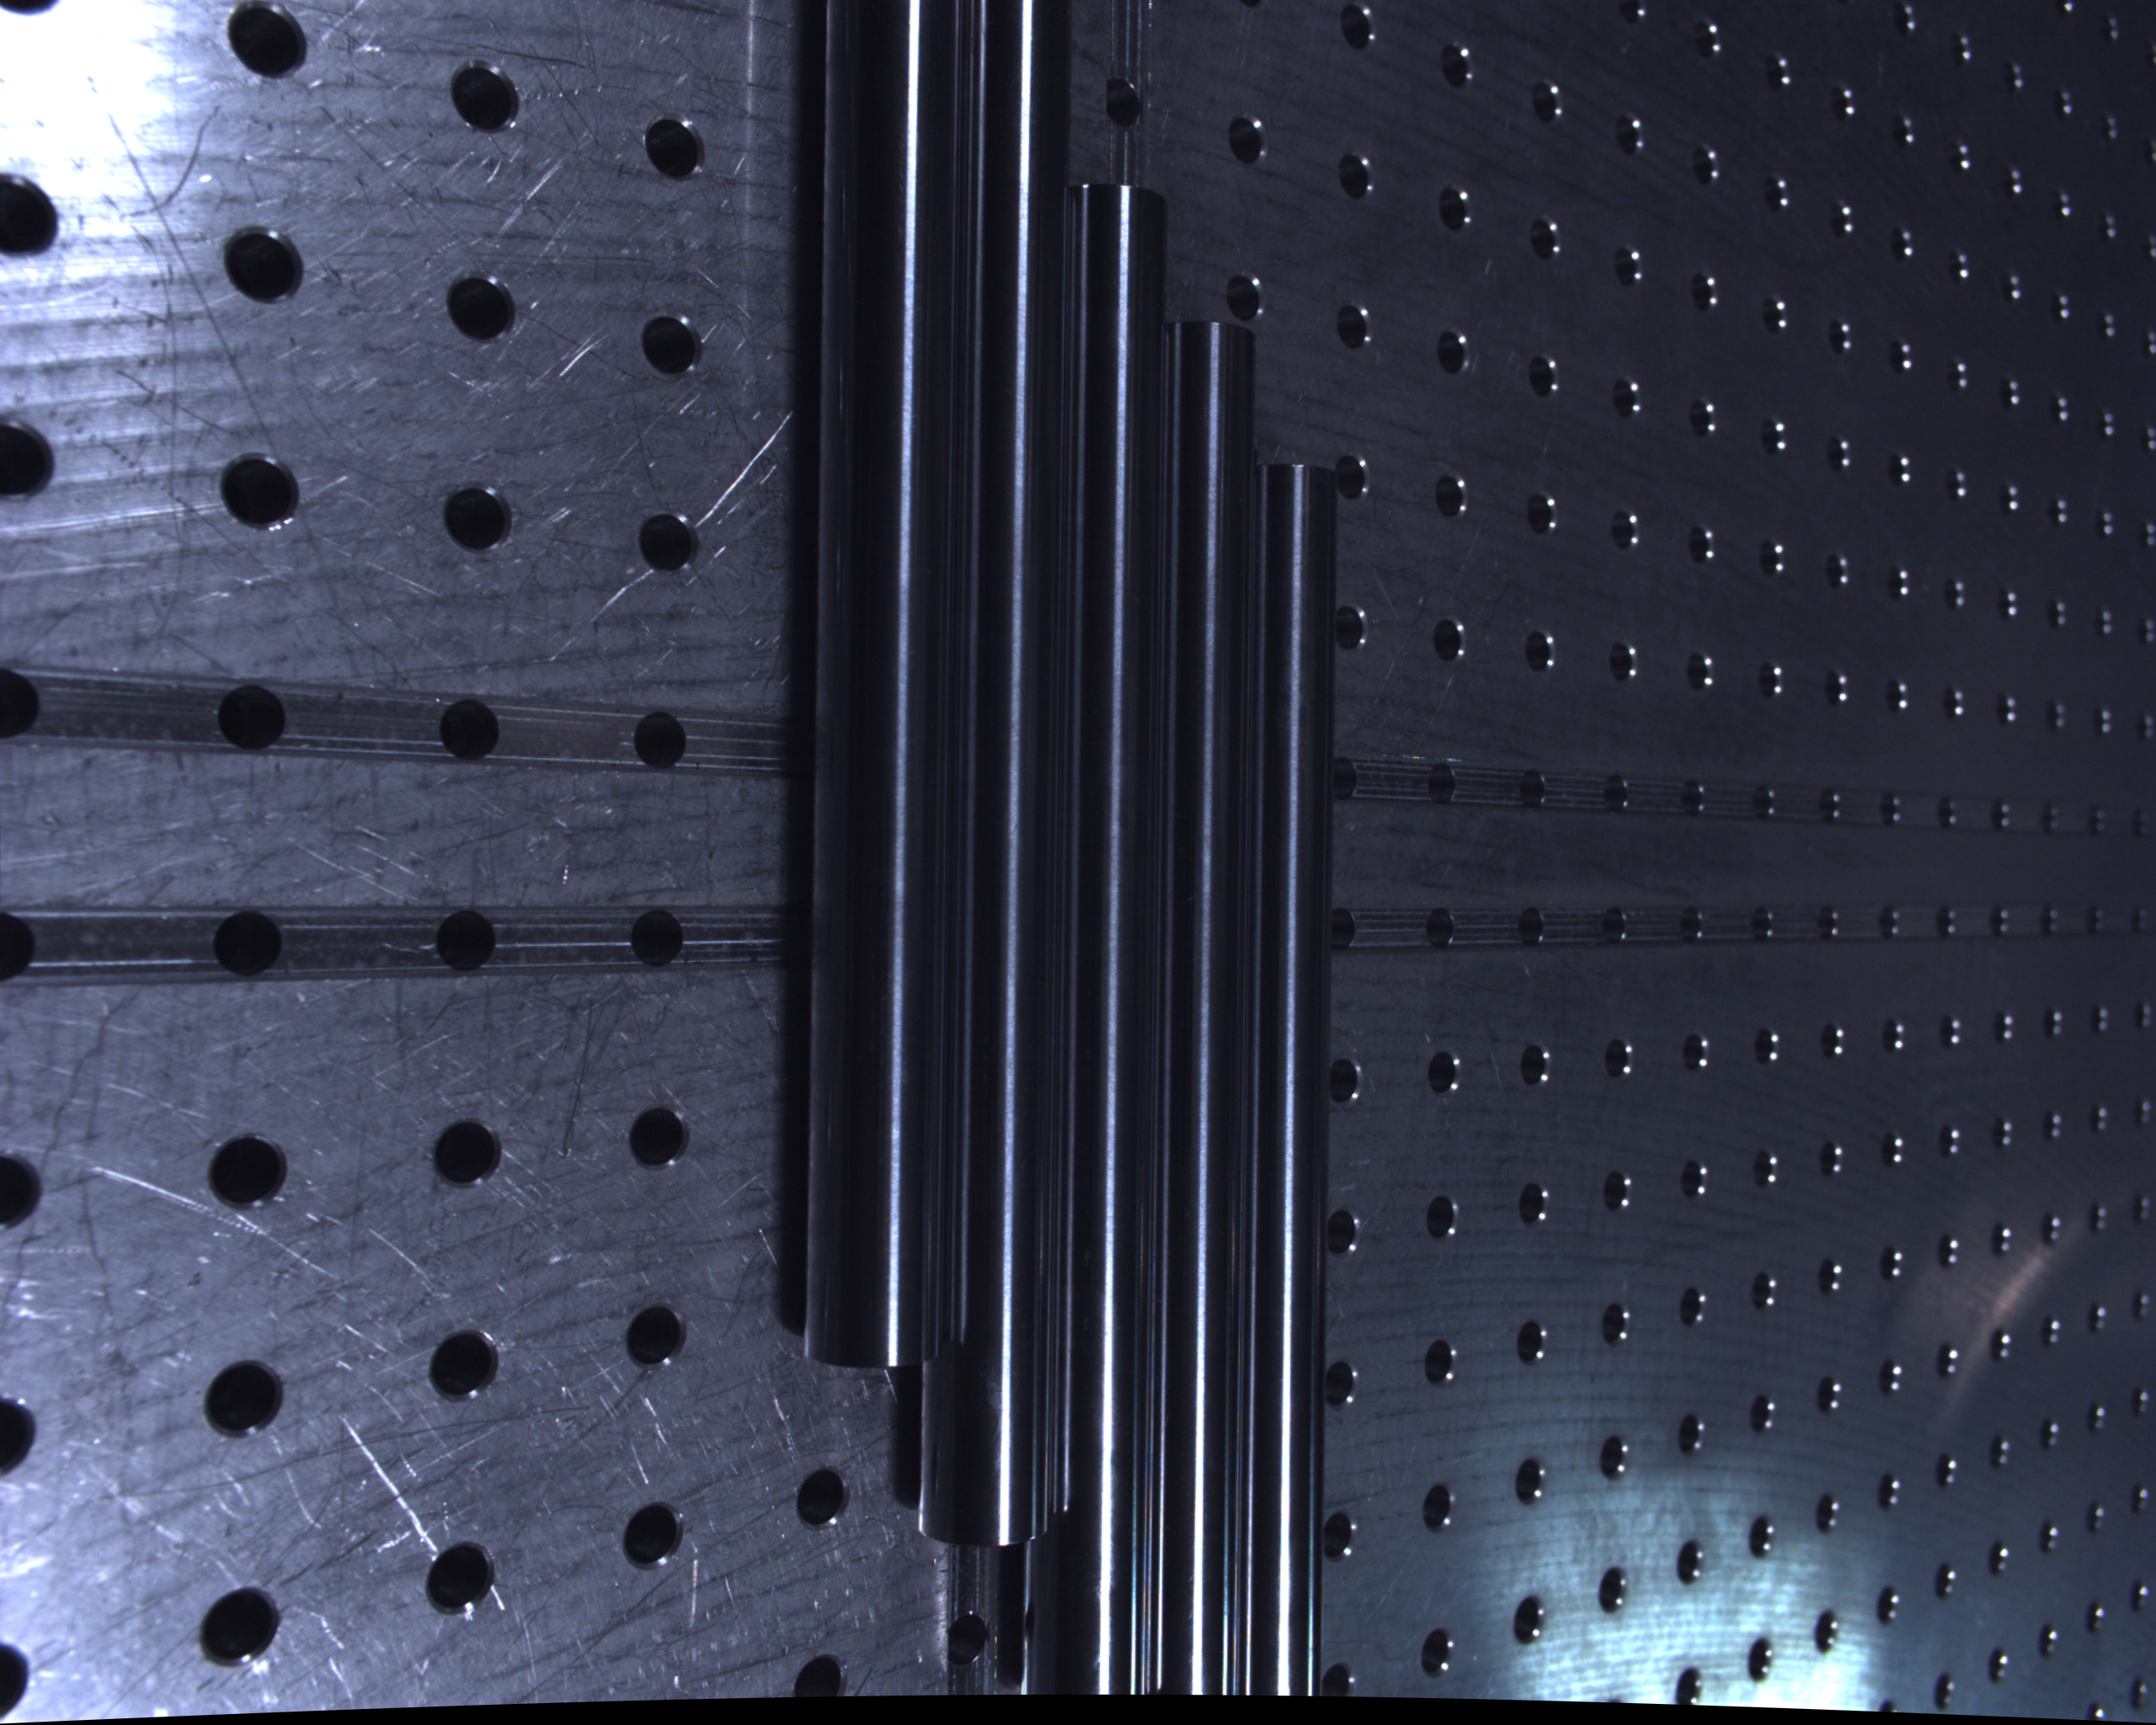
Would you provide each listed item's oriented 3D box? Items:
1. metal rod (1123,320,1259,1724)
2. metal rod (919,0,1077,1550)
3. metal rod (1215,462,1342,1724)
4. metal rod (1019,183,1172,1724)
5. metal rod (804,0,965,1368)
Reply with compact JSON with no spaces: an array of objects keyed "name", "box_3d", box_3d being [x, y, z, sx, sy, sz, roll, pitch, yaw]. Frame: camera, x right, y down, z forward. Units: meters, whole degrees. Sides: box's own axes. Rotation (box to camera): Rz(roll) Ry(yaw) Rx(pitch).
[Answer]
[{"name":"metal rod","box_3d":[0.022,0.040,0.429,0.025,0.025,0.298,2,89,-40]},{"name":"metal rod","box_3d":[-0.015,-0.023,0.397,0.025,0.025,0.298,2,89,-40]},{"name":"metal rod","box_3d":[0.041,0.066,0.445,0.025,0.025,0.298,2,89,-40]},{"name":"metal rod","box_3d":[0.004,0.018,0.413,0.025,0.025,0.298,2,89,-40]},{"name":"metal rod","box_3d":[-0.035,-0.060,0.381,0.025,0.025,0.298,1,89,-40]}]
